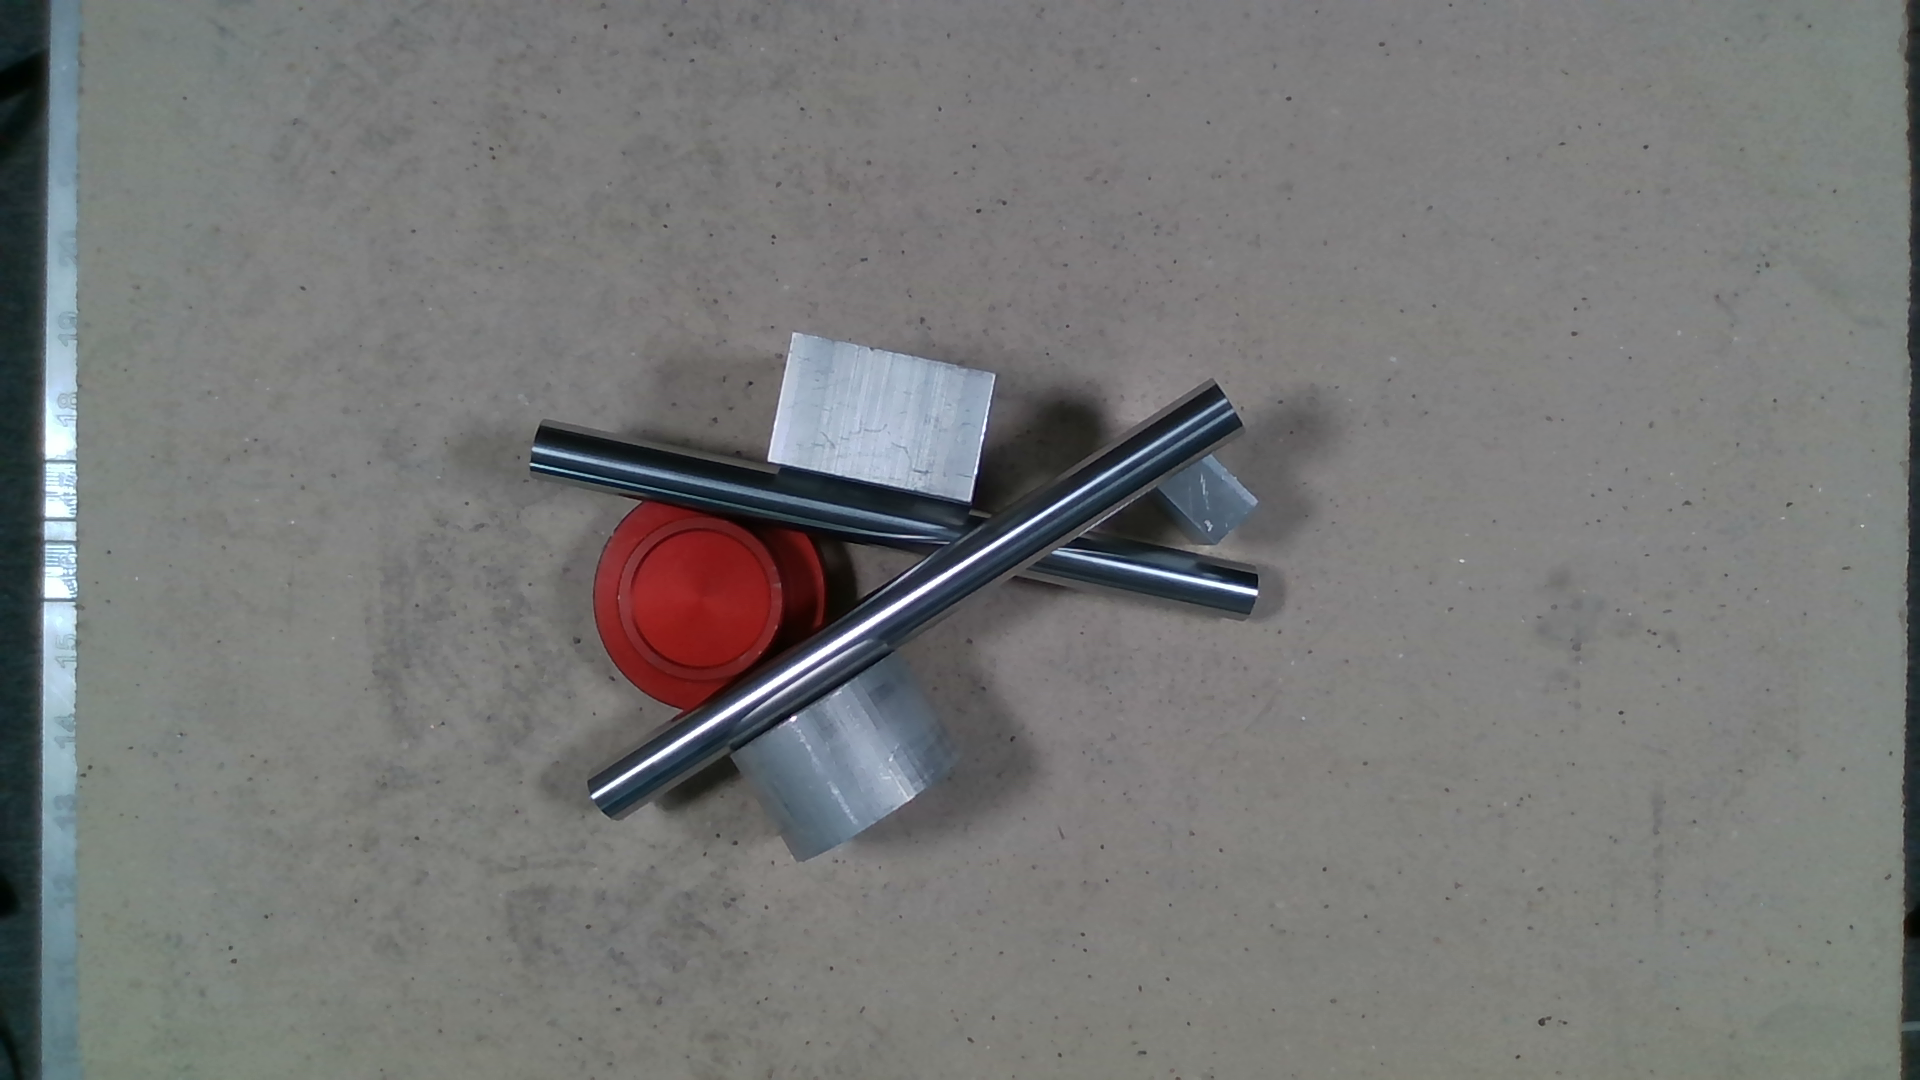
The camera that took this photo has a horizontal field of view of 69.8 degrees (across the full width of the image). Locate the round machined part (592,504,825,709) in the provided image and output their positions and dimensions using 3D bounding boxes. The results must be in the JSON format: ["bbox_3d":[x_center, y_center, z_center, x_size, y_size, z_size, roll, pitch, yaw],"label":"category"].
[{"bbox_3d":[-0.106,0.024,0.579,0.098,0.042,0.098,0,90,0],"label":"round machined part"}]

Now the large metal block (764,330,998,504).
[{"bbox_3d":[-0.030,-0.047,0.559,0.080,0.080,0.050,12,90,0],"label":"large metal block"}]

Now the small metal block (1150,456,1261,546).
[{"bbox_3d":[0.094,-0.024,0.574,0.050,0.050,0.025,45,90,0],"label":"small metal block"}]

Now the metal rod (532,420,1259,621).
[{"bbox_3d":[-0.023,-0.007,0.572,0.300,0.025,0.025,11,90,-6],"label":"metal rod"}]

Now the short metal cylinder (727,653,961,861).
[{"bbox_3d":[-0.047,0.087,0.561,0.080,0.080,0.050,-32,90,0],"label":"short metal cylinder"}]

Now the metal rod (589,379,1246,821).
[{"bbox_3d":[-0.022,0.027,0.553,0.300,0.025,0.025,-32,90,9],"label":"metal rod"}]
